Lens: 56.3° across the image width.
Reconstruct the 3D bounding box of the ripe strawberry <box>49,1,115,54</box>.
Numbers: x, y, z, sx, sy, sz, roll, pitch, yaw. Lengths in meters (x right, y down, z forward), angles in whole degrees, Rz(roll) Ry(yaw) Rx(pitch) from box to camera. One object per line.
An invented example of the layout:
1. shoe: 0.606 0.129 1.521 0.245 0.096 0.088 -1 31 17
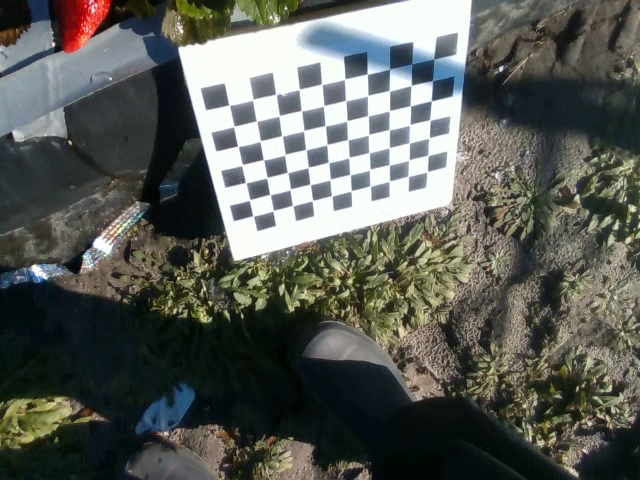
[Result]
1. ripe strawberry: -0.214 -0.196 0.536 0.061 0.065 0.058 10 -9 -31
